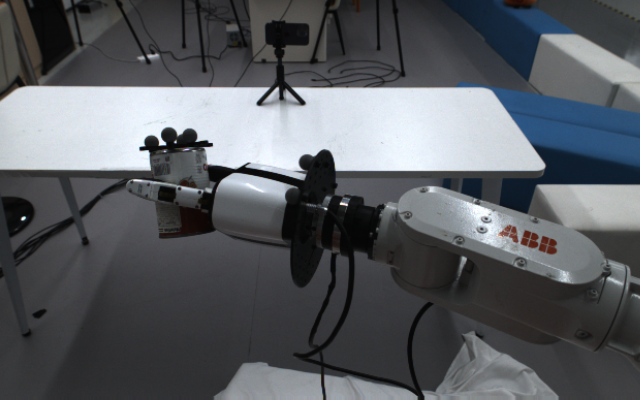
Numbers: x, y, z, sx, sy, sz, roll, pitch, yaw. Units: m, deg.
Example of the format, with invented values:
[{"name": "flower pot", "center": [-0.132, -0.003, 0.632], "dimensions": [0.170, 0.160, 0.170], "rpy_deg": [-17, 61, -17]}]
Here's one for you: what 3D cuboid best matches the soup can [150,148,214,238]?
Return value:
[{"name": "soup can", "center": [-0.165, -0.008, 0.585], "dimensions": [0.067, 0.101, 0.067], "rpy_deg": [-7, 3, 0]}]
